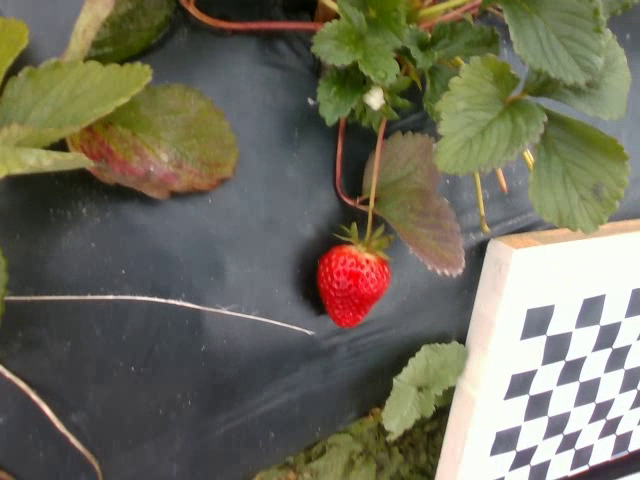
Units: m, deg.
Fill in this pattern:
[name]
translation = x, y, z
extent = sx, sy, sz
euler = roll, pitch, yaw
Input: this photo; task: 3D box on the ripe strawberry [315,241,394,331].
[ripe strawberry]
translation = 0.011, 0.017, 0.205
extent = 0.028, 0.033, 0.022
euler = 11, 15, -27
